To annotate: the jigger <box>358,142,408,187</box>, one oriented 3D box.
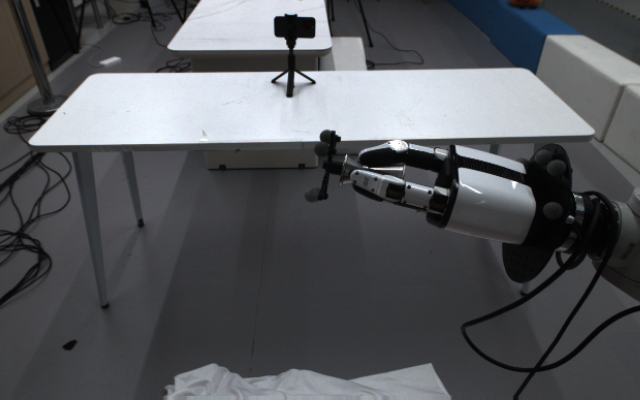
[{"bbox_3d":[0.066,-0.030,0.551,0.071,0.043,0.043,12,36,5],"label":"jigger"}]
